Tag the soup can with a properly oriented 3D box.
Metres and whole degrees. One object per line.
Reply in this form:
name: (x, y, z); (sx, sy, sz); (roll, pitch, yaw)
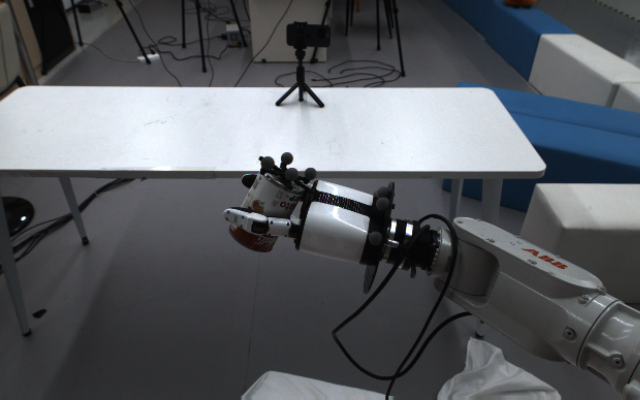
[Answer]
soup can: (-0.072, 0.012, 0.662); (0.067, 0.101, 0.067); (28, 18, -10)
